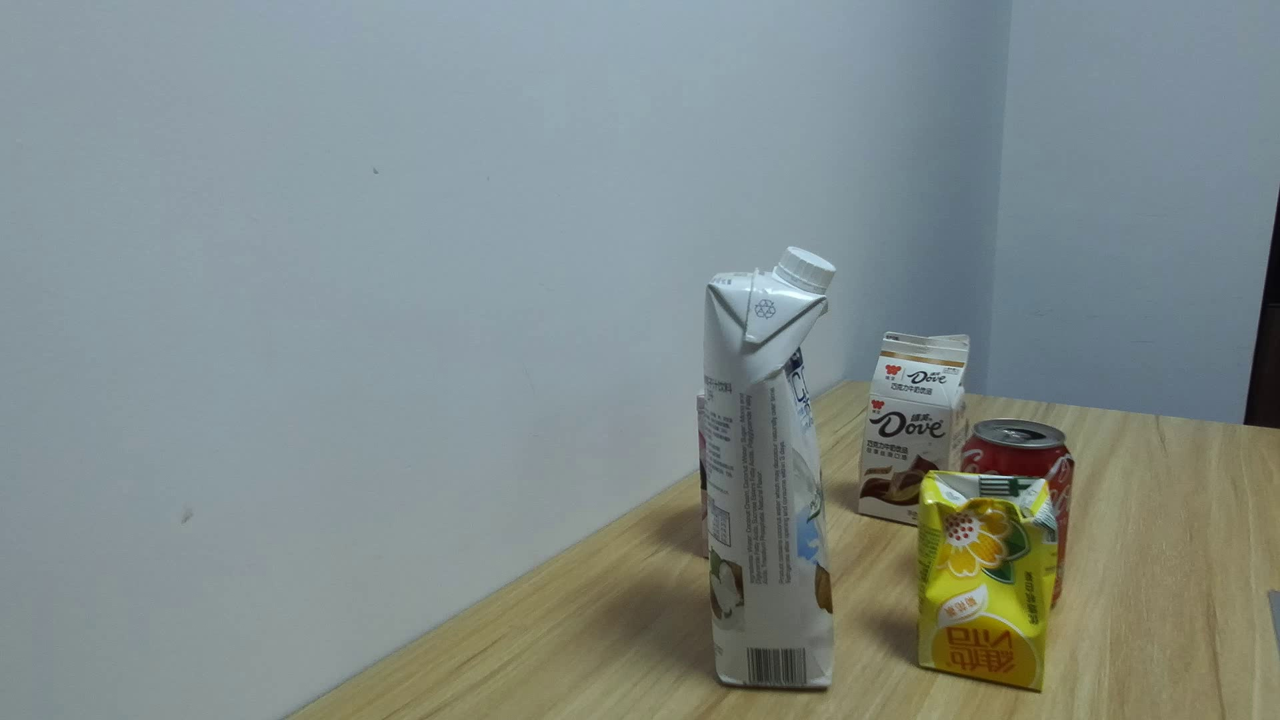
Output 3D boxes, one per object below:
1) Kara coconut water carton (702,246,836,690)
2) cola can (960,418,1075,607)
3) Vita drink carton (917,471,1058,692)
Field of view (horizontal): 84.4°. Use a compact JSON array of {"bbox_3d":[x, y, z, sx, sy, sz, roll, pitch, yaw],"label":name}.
[{"bbox_3d":[0.075,0.059,0.406,0.071,0.244,0.099,-1,15,9],"label":"Kara coconut water carton"},{"bbox_3d":[0.252,0.102,0.479,0.068,0.120,0.068,-2,14,1],"label":"cola can"},{"bbox_3d":[0.197,0.124,0.404,0.071,0.109,0.046,2,10,24],"label":"Vita drink carton"}]
